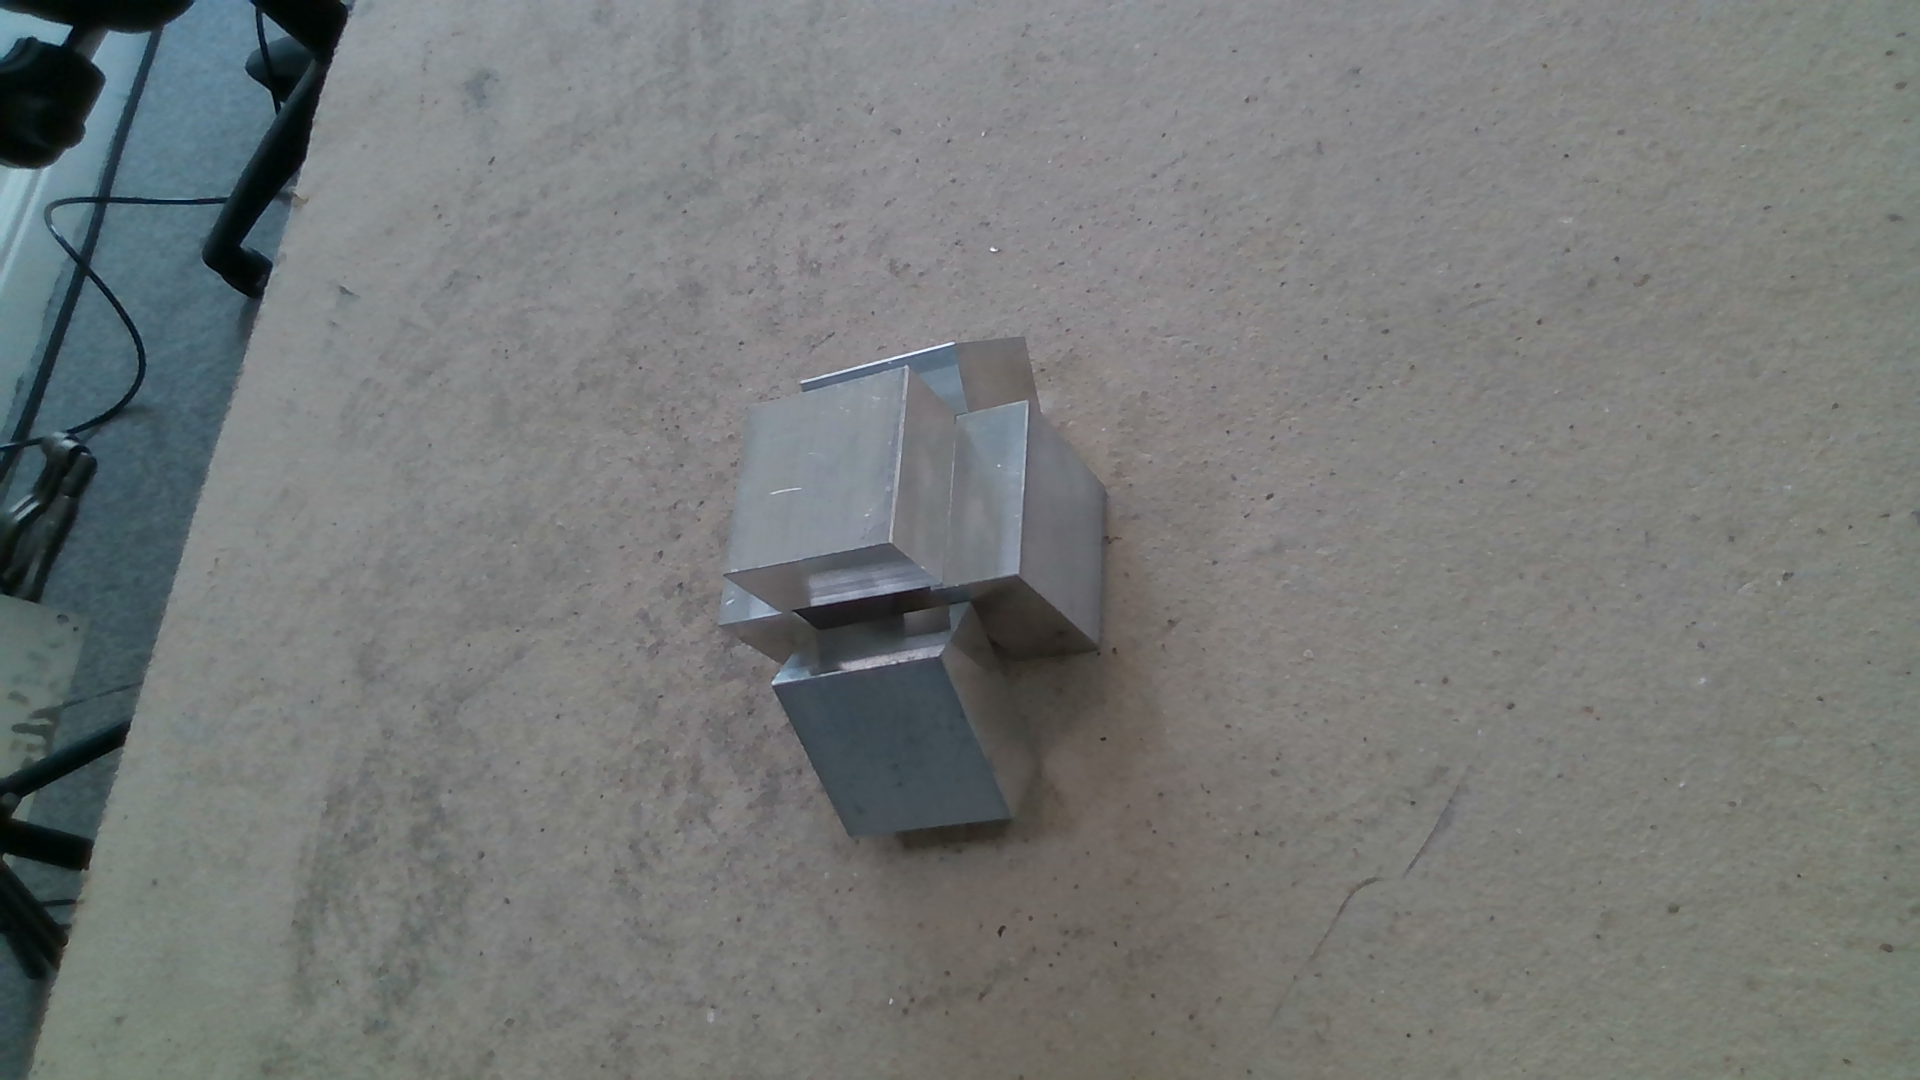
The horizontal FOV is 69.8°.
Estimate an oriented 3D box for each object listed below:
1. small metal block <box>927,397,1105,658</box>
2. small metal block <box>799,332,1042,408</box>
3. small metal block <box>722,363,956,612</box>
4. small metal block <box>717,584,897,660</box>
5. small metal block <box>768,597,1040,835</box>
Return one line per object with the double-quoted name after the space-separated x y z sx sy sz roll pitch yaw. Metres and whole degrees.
0.017 -0.002 0.368 0.025 0.050 0.050 -10 61 28 "small metal block"
-0.010 -0.042 0.403 0.050 0.050 0.025 -10 96 27 "small metal block"
-0.030 -0.013 0.355 0.050 0.025 0.050 -11 60 27 "small metal block"
-0.042 0.009 0.399 0.025 0.050 0.050 -12 60 27 "small metal block"
-0.014 0.047 0.358 0.050 0.050 0.025 -13 24 26 "small metal block"
